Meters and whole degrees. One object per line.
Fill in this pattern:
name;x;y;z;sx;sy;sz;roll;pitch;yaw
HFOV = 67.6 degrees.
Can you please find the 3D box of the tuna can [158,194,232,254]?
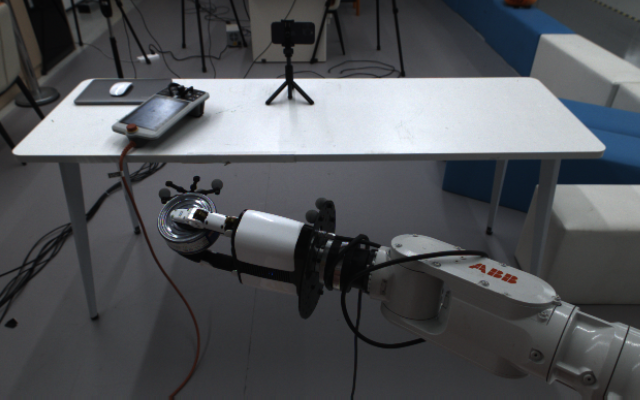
tuna can;-0.181;0.040;0.687;0.085;0.034;0.085;-3;60;5
